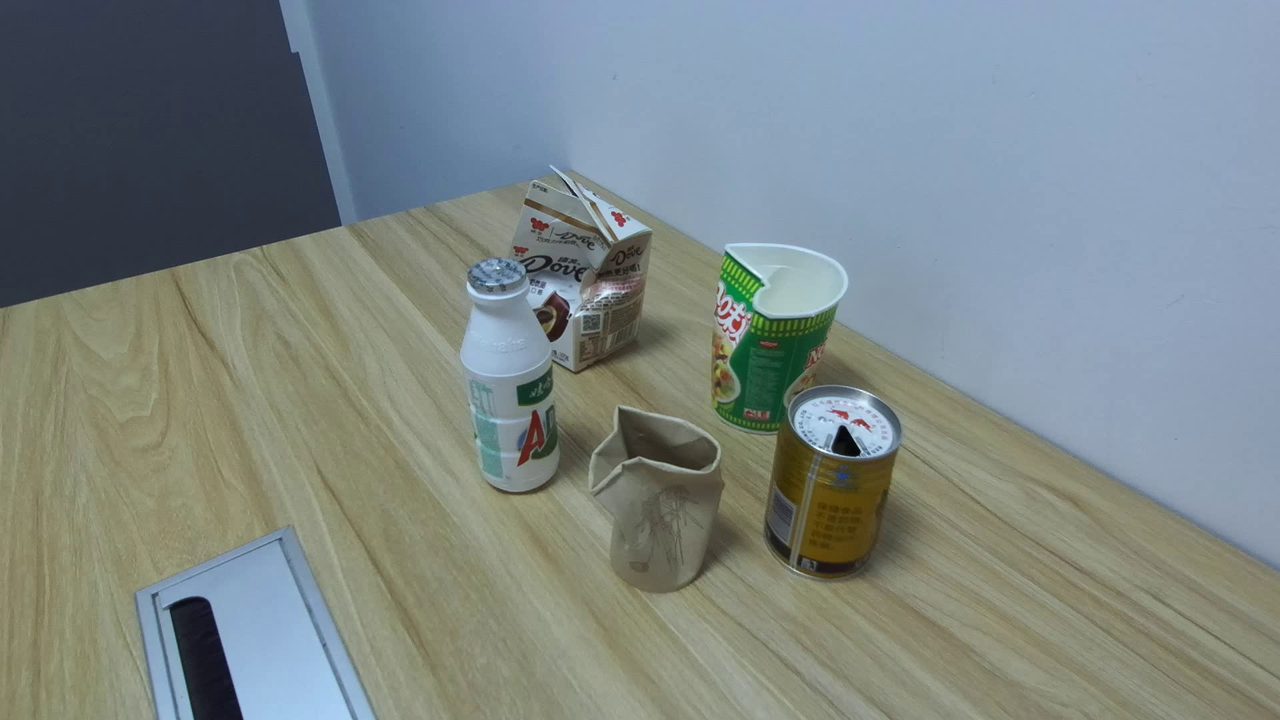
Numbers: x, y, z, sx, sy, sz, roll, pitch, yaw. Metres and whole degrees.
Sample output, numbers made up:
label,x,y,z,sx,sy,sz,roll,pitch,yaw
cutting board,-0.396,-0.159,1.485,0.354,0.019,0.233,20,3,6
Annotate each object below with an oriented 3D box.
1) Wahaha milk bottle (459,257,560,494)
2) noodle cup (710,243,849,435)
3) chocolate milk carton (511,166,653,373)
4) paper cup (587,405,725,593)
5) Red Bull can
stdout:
label,x,y,z,sx,sy,sz,roll,pitch,yaw
Wahaha milk bottle,-0.078,0.012,0.424,0.053,0.147,0.053,0,35,0
noodle cup,0.090,-0.010,0.486,0.087,0.109,0.094,9,37,11
chocolate milk carton,-0.047,-0.068,0.537,0.089,0.155,0.077,36,51,22
paper cup,0.008,0.081,0.382,0.066,0.083,0.058,14,43,21
Red Bull can,0.107,0.068,0.395,0.068,0.093,0.068,0,37,0
